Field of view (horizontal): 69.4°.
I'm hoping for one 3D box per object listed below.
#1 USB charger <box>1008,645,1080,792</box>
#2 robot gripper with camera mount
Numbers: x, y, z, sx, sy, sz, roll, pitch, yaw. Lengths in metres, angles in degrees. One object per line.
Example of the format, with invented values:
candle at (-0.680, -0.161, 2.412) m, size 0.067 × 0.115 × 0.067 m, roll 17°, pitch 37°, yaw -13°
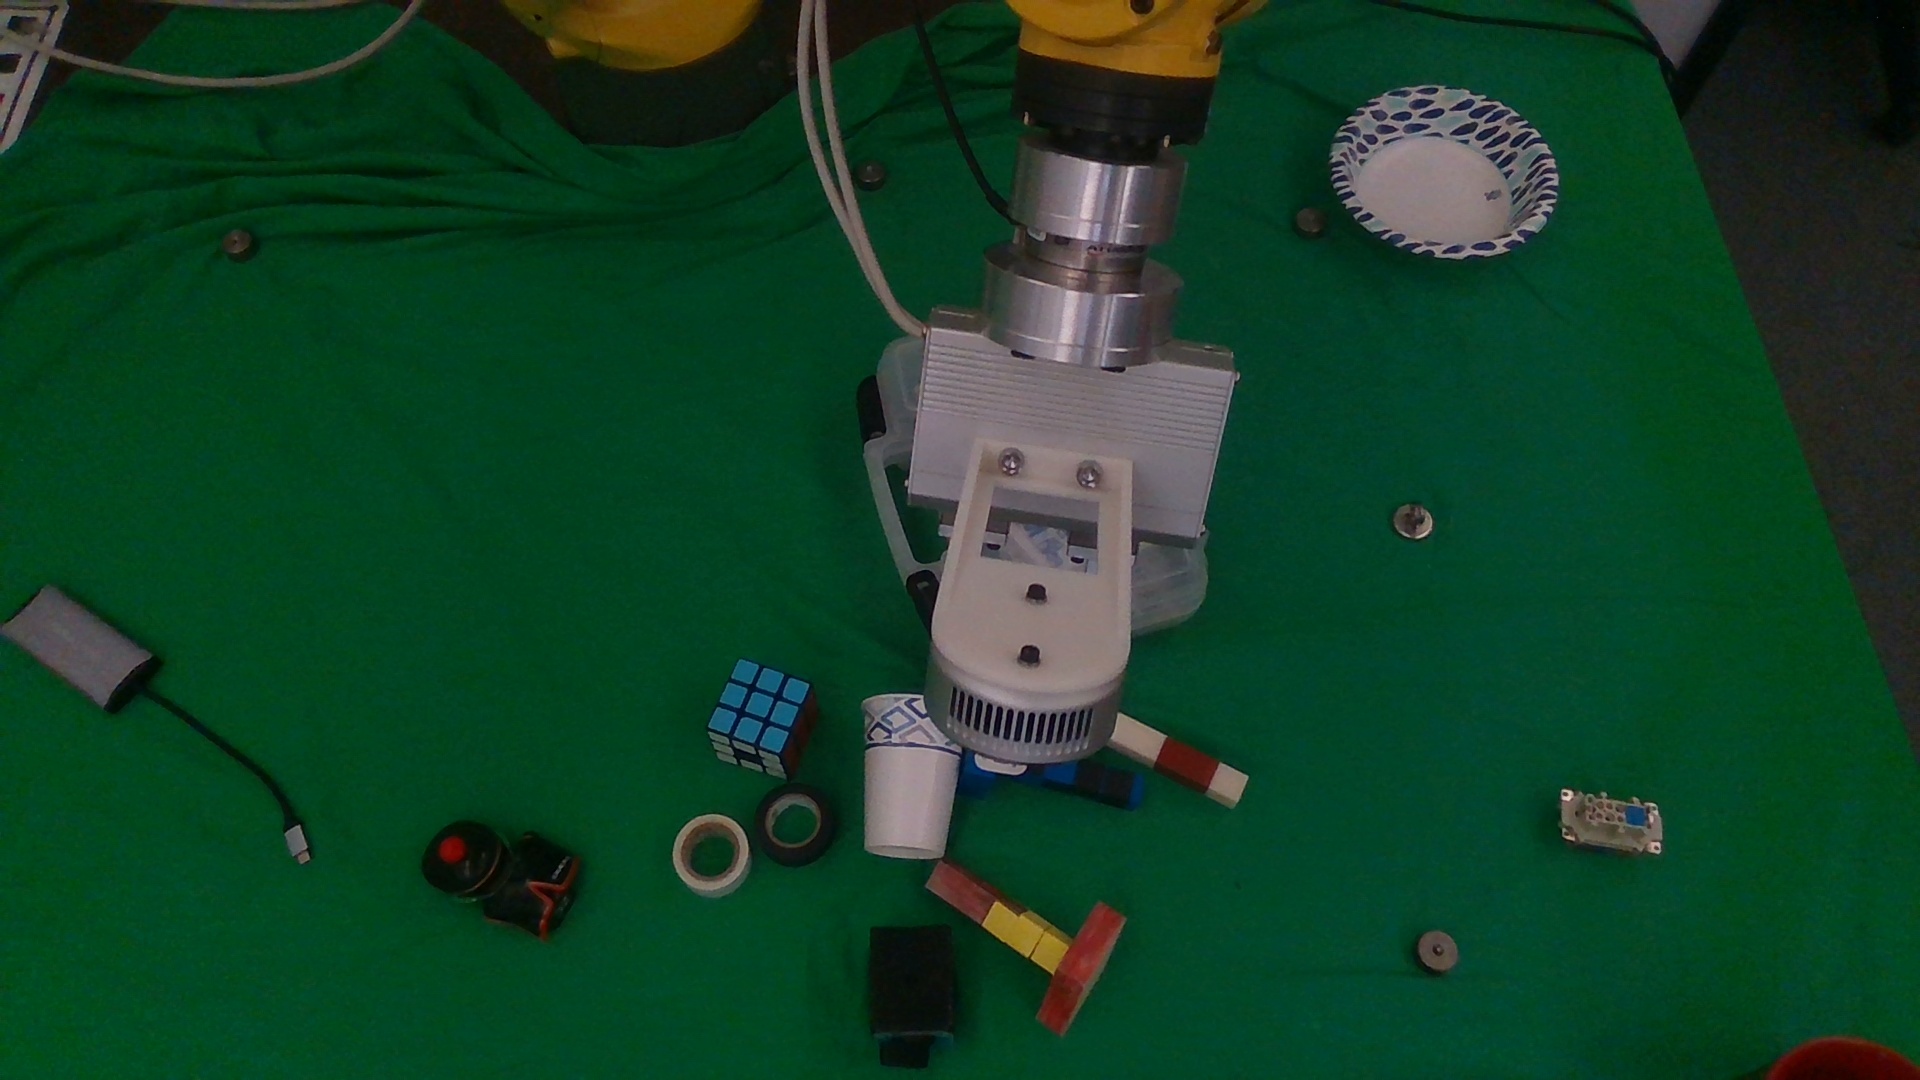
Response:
USB charger at (0.033, 0.074, 0.563) m, size 0.029 × 0.075 × 0.044 m, roll -1°, pitch 103°, yaw 0°
robot gripper with camera mount at (0.030, 0.038, 0.483) m, size 0.119 × 0.158 × 0.193 m, roll 7°, pitch 24°, yaw 6°
